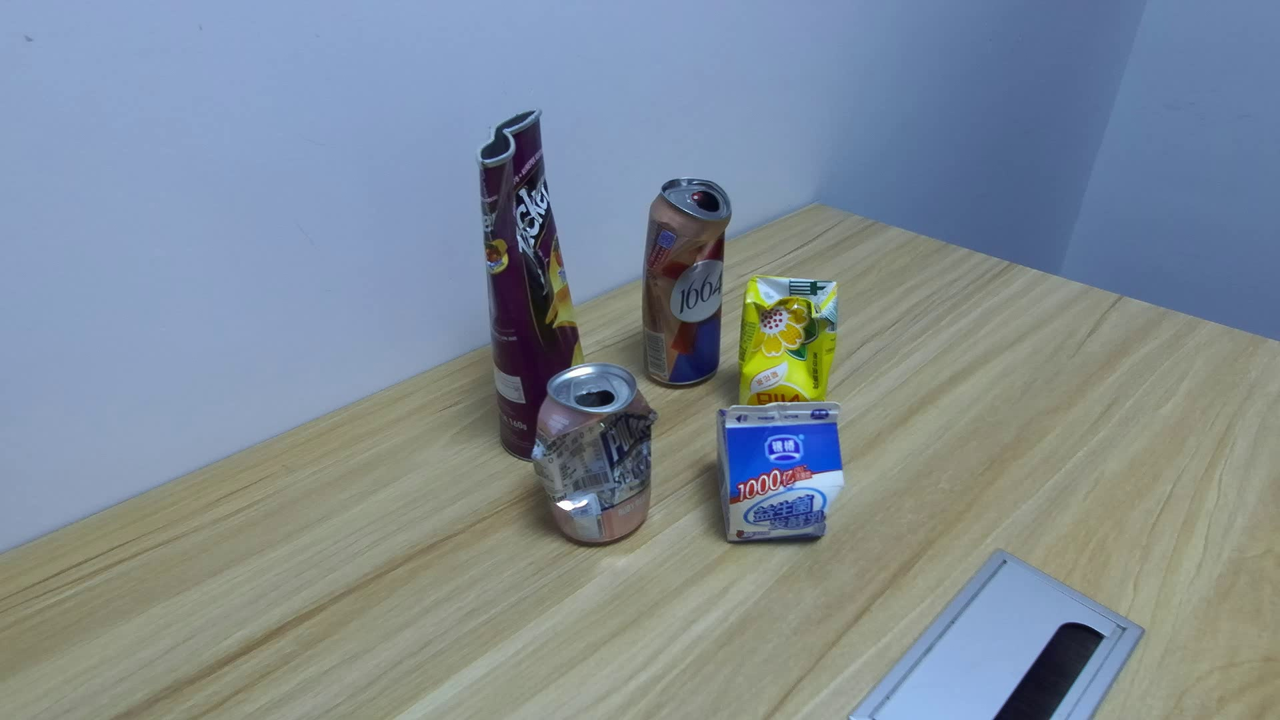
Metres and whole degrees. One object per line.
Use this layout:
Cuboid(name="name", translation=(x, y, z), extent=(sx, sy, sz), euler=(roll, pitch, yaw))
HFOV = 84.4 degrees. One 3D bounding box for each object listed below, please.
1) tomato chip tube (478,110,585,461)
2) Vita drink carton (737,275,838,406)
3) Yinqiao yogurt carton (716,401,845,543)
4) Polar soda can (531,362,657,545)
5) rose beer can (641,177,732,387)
Cuboid(name="tomato chip tube", translation=(-0.075, -0.040, 0.494), extent=(0.090, 0.236, 0.077), euler=(-25, 40, -34))
Cuboid(name="Vita drink carton", translation=(0.111, -0.004, 0.531), extent=(0.071, 0.110, 0.046), euler=(7, 31, 17))
Cuboid(name="Yinqiao yogurt carton", translation=(0.088, 0.062, 0.445), extent=(0.074, 0.097, 0.080), euler=(-4, 41, -1))
Cuboid(name="Polar soda can", translation=(-0.026, 0.059, 0.450), extent=(0.070, 0.114, 0.074), euler=(6, 37, 5))
Cuboid(name="rose beer can", translation=(0.036, -0.060, 0.574), extent=(0.070, 0.168, 0.069), euler=(-1, 36, -4))
